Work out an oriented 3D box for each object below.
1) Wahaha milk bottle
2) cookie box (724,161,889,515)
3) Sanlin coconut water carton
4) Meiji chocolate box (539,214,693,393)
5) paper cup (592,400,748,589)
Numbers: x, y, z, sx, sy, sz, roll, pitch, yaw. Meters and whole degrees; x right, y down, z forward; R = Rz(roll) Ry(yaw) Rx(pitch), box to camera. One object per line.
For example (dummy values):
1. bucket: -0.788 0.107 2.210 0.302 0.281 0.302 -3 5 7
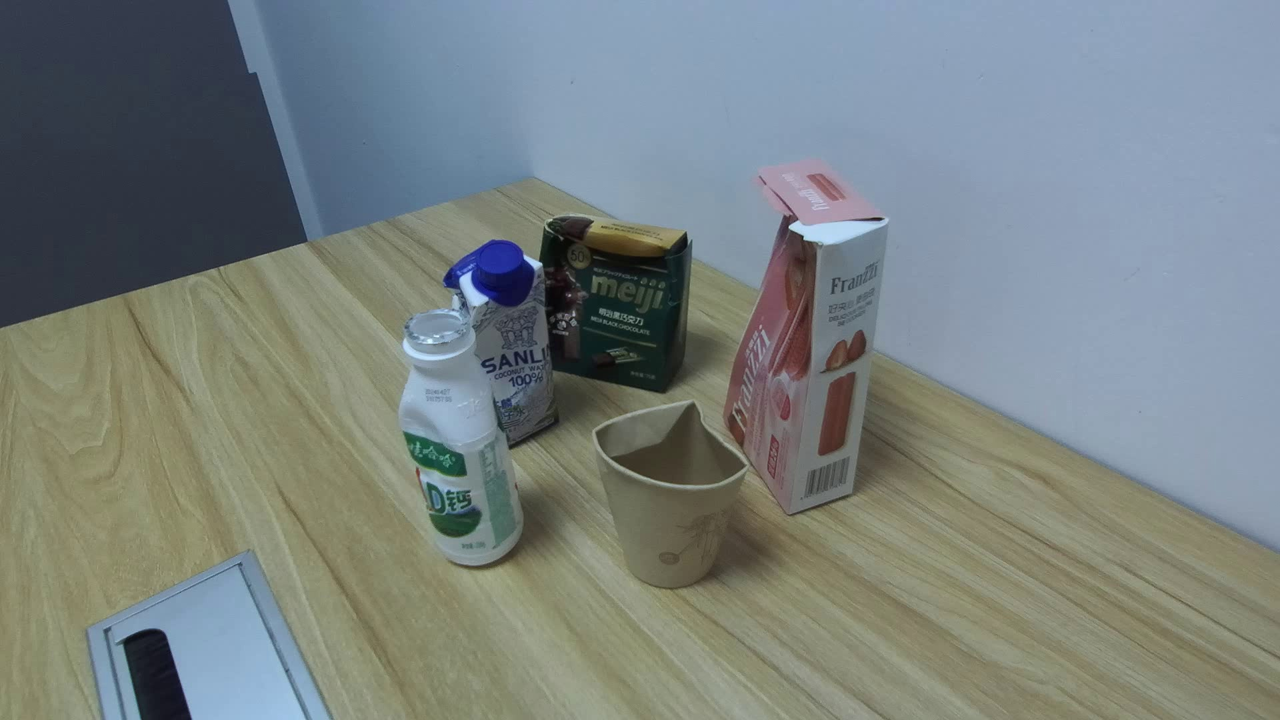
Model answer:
1. Wahaha milk bottle: -0.093 0.043 0.375 0.055 0.149 0.055 0 35 0
2. cookie box: 0.092 -0.011 0.416 0.055 0.184 0.118 -8 35 -9
3. Sanlin coconut water carton: -0.093 -0.014 0.461 0.061 0.144 0.069 -25 41 -29
4. Meiji chocolate box: -0.021 -0.044 0.538 0.113 0.111 0.058 11 25 18
5. paper cup: 0.015 0.076 0.379 0.066 0.084 0.071 -15 37 -19
